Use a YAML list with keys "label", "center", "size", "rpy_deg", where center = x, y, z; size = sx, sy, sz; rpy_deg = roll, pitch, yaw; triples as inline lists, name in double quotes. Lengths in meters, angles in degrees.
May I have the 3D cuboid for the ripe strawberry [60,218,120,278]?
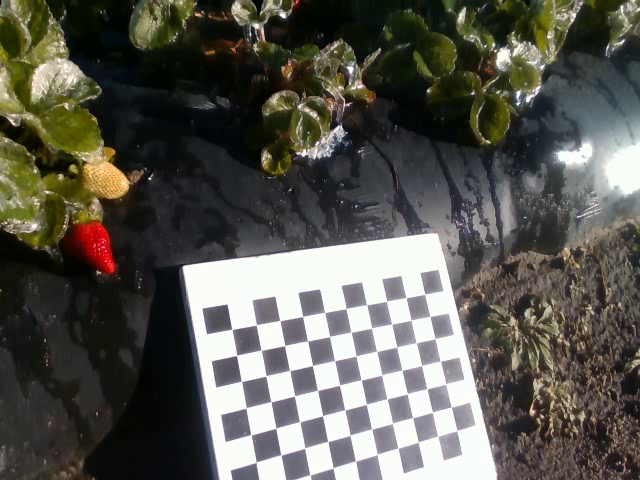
- label: "ripe strawberry"
  center: [-0.191, 0.006, 0.516]
  size: [0.042, 0.052, 0.040]
  rpy_deg: [-27, -9, -29]
